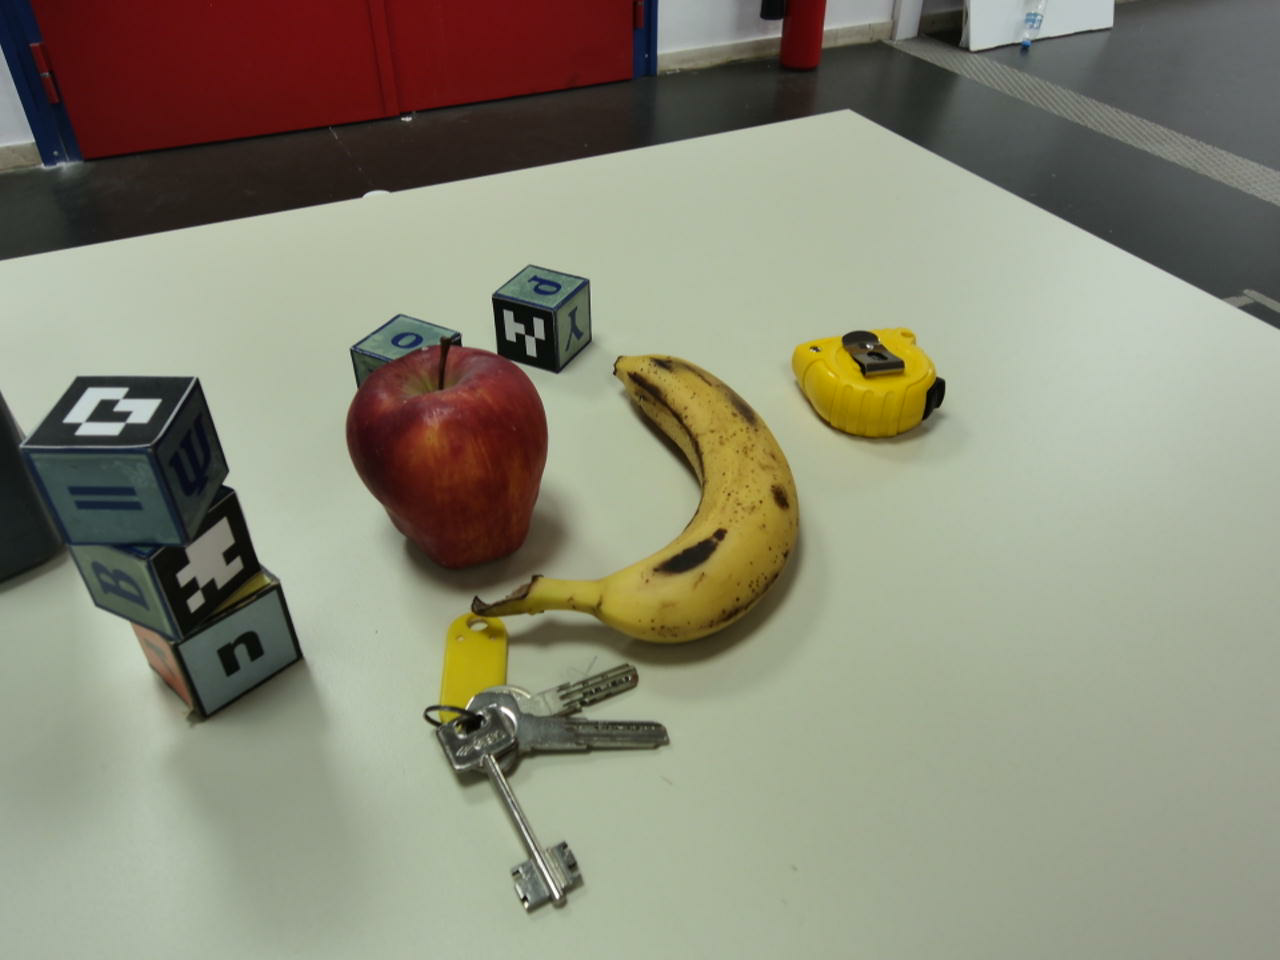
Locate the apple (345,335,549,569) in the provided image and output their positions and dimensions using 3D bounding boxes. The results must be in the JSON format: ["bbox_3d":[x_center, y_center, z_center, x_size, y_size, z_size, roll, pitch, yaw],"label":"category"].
[{"bbox_3d":[-0.075,-0.015,0.395,0.083,0.090,0.083,0,38,0],"label":"apple"}]
